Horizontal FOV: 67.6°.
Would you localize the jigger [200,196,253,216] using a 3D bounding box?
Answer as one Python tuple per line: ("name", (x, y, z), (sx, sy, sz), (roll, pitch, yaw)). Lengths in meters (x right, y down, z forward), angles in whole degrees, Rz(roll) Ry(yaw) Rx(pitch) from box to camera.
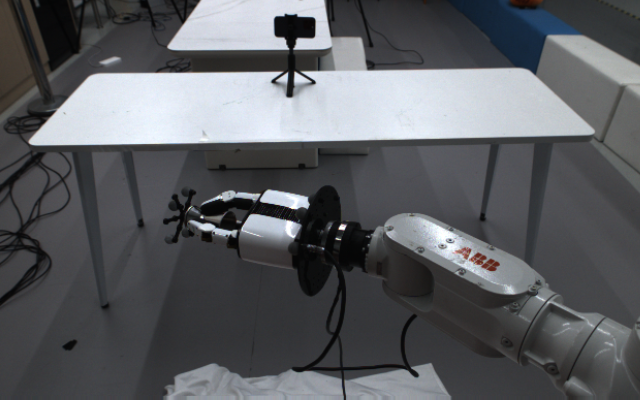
("jigger", (-0.165, 0.030, 0.749), (0.071, 0.043, 0.043), (10, 35, 22))
